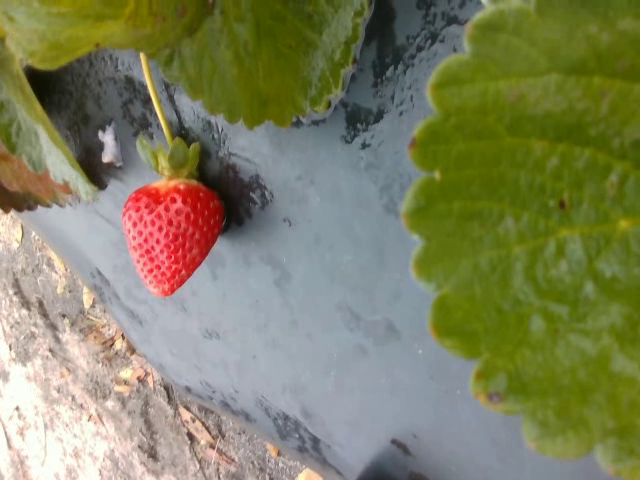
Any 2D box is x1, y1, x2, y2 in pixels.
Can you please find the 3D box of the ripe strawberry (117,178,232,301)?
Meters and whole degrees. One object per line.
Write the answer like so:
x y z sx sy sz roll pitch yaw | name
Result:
-0.064 -0.001 0.255 0.048 0.053 0.045 5 1 -28 | ripe strawberry
